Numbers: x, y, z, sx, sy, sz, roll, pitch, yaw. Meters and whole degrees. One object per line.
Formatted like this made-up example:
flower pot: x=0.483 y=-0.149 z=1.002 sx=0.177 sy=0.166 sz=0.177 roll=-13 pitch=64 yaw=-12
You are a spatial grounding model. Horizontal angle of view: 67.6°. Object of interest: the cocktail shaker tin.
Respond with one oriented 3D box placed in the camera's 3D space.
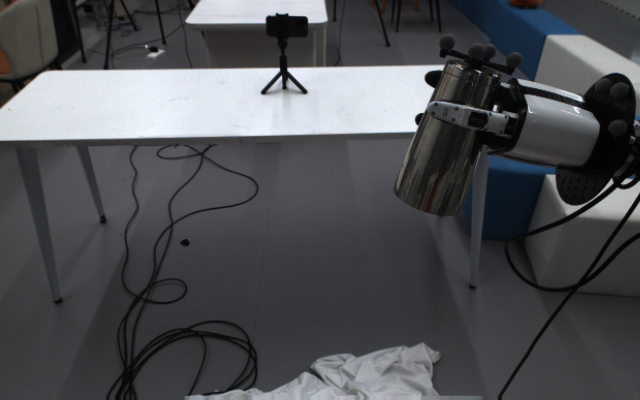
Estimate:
cocktail shaker tin: x=0.162 y=-0.081 z=0.594 sx=0.093 sy=0.170 sz=0.093 roll=12 pitch=25 yaw=-6
